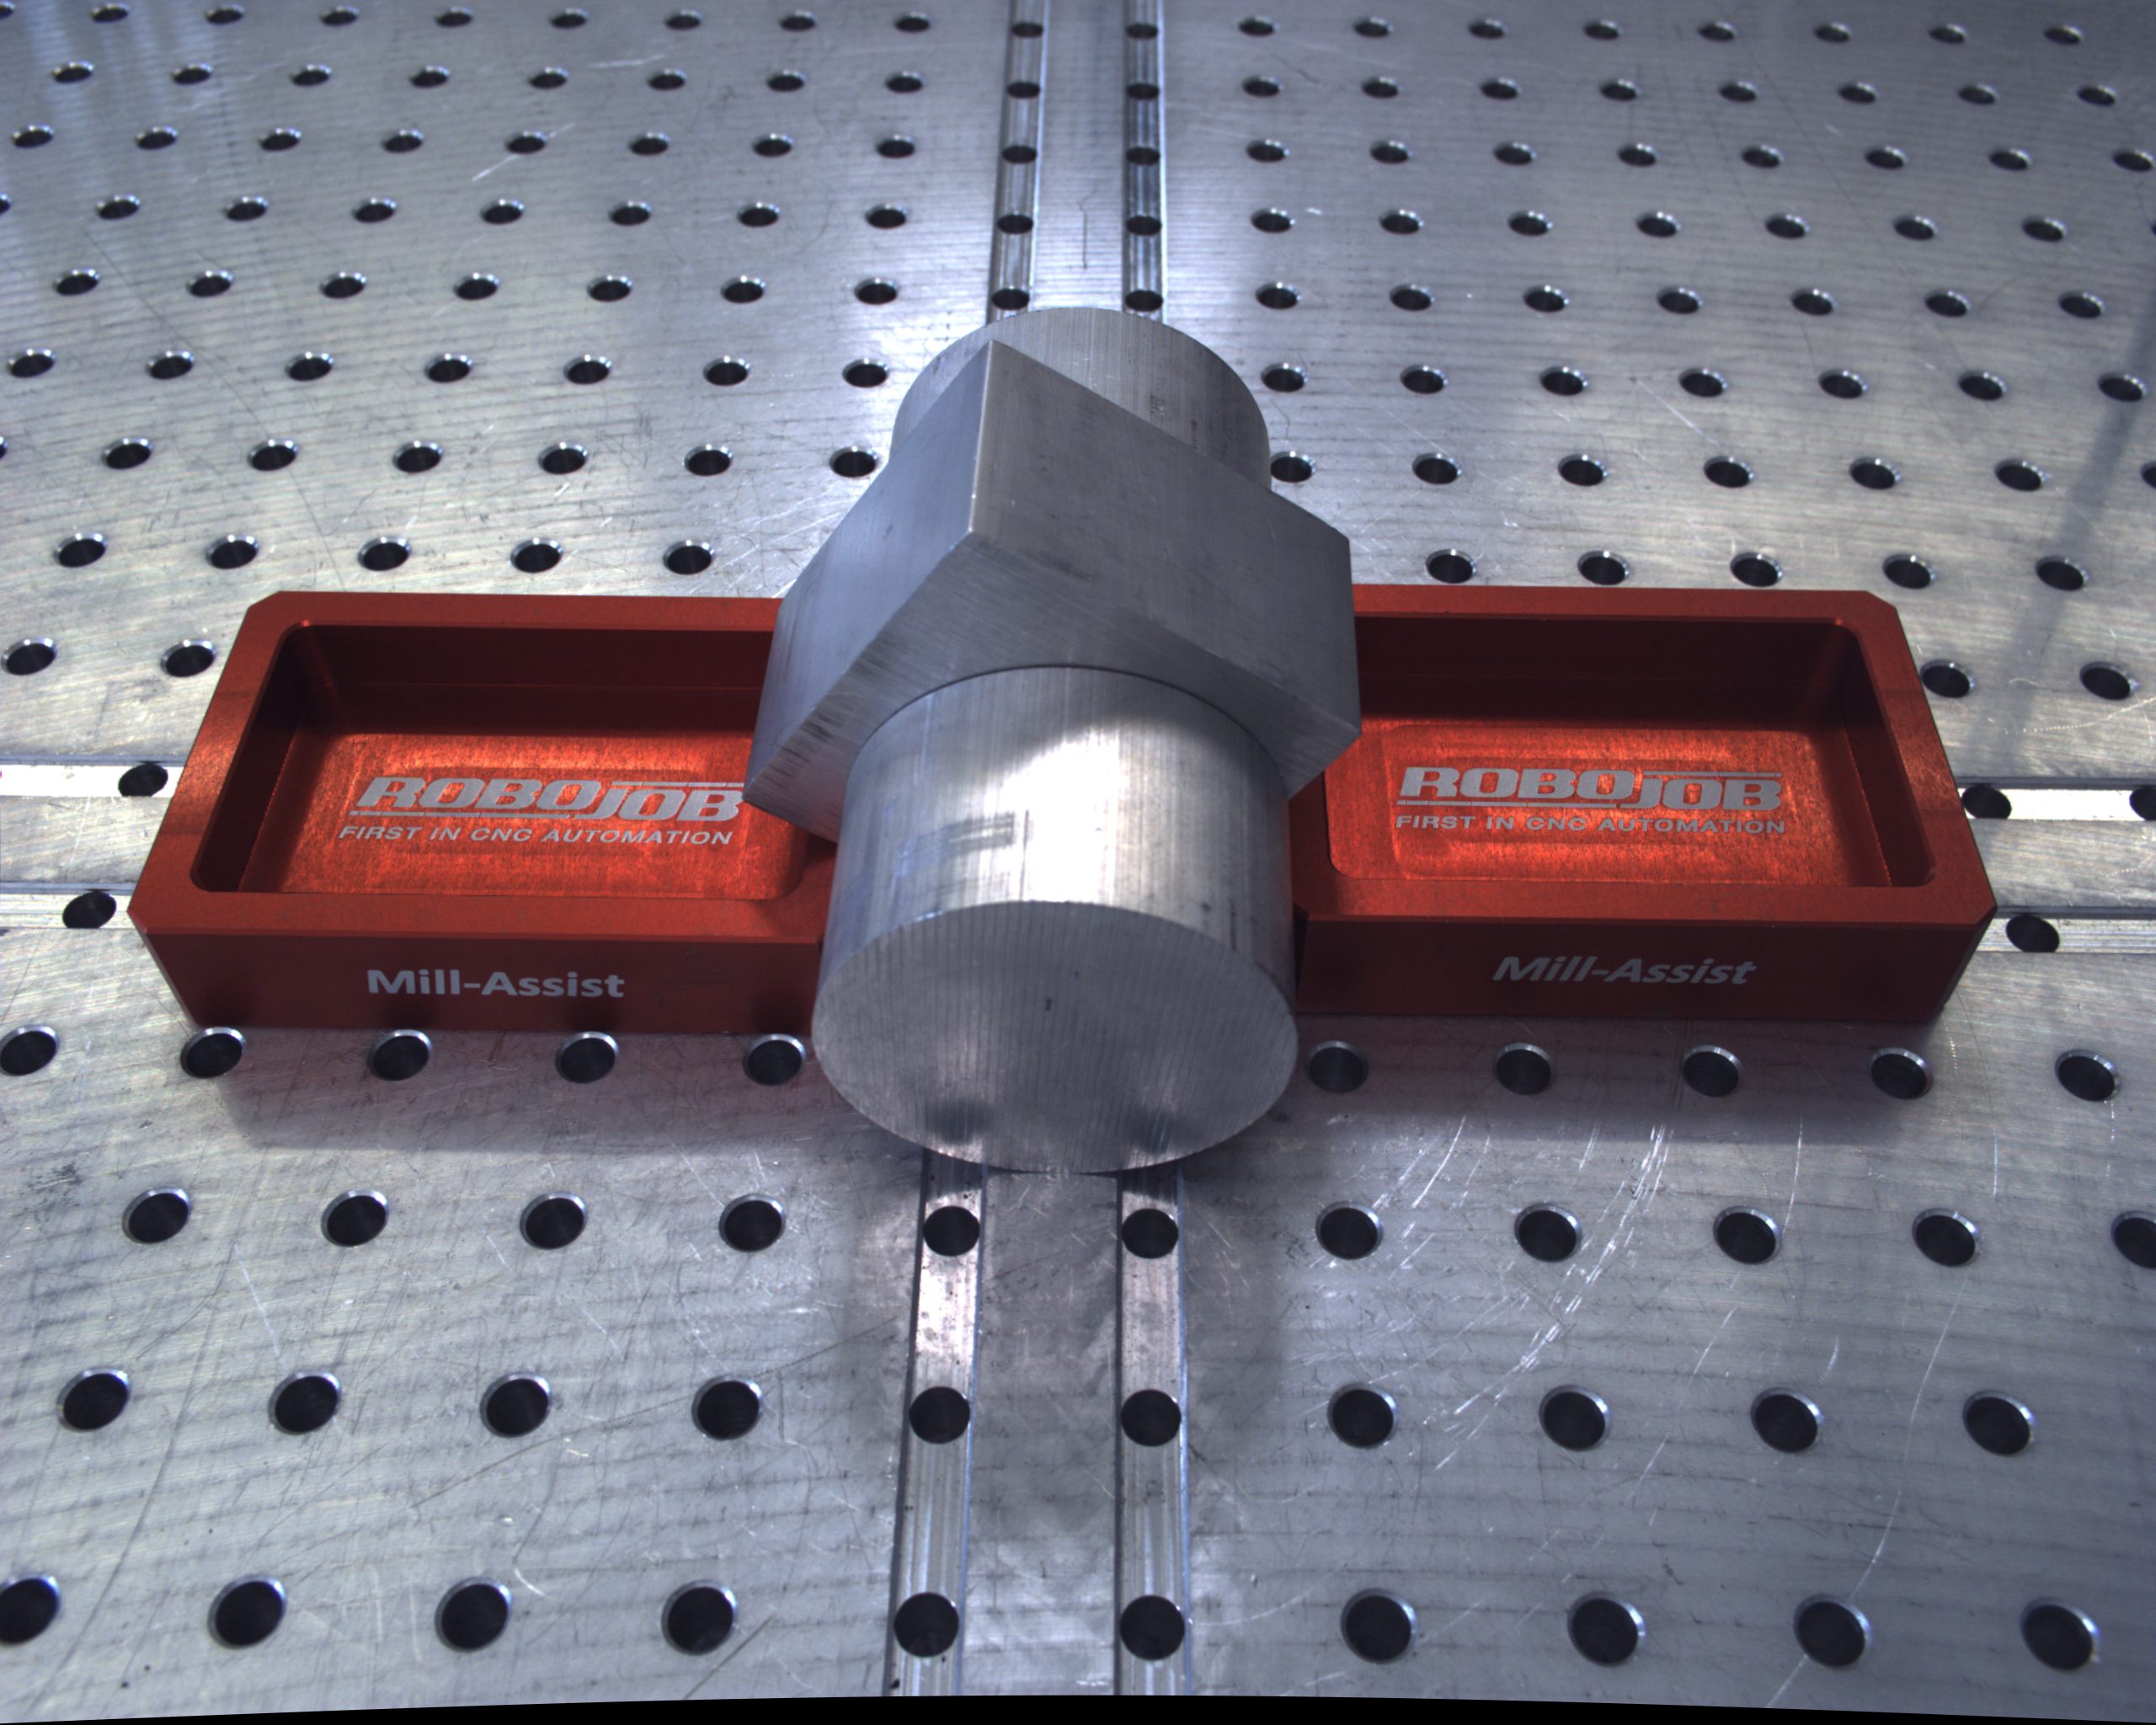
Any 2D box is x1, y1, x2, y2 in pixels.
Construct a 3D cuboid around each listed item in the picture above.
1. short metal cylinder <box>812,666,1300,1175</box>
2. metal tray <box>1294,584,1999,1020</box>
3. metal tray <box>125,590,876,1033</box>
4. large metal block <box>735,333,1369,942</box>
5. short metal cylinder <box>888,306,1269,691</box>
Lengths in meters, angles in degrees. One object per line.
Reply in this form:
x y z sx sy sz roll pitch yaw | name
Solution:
-0.003 0.012 0.361 0.080 0.080 0.050 1 50 1 | short metal cylinder
0.103 -0.014 0.416 0.131 0.030 0.090 1 50 0 | metal tray
-0.106 -0.012 0.413 0.131 0.030 0.090 1 50 0 | metal tray
-0.005 -0.036 0.383 0.080 0.080 0.050 25 45 -24 | large metal block
0.000 -0.065 0.426 0.080 0.080 0.050 1 50 1 | short metal cylinder
